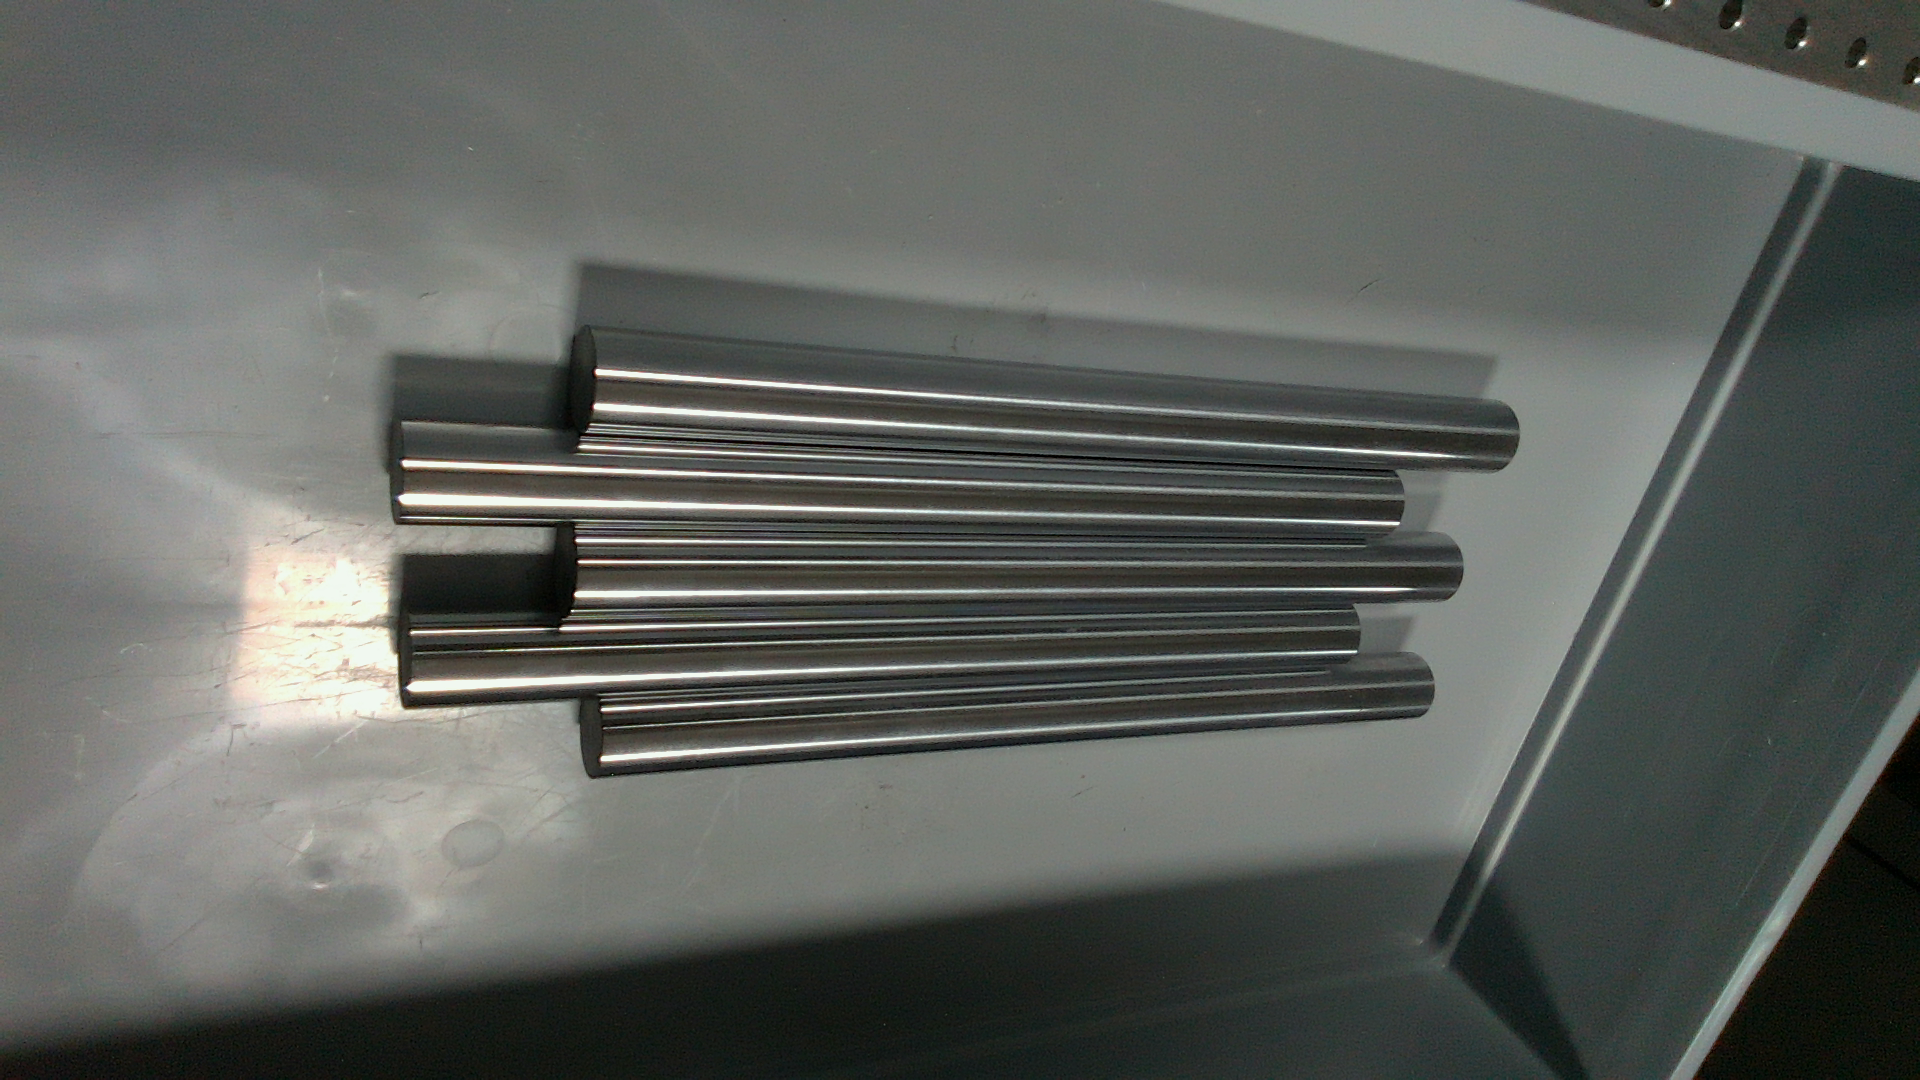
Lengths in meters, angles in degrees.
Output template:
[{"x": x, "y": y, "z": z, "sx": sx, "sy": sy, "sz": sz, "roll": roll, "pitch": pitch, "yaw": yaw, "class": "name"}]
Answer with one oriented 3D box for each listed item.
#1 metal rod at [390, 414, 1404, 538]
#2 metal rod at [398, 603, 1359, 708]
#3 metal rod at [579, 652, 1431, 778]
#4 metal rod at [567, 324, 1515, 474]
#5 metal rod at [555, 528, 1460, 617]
[{"x": 0.005, "y": -0.014, "z": 0.382, "sx": 0.301, "sy": 0.025, "sz": 0.025, "roll": 1, "pitch": 118, "yaw": -29, "class": "metal rod"}, {"x": -0.003, "y": 0.029, "z": 0.405, "sx": 0.301, "sy": 0.025, "sz": 0.025, "roll": 1, "pitch": 118, "yaw": -29, "class": "metal rod"}, {"x": 0.033, "y": 0.052, "z": 0.438, "sx": 0.301, "sy": 0.025, "sz": 0.025, "roll": 1, "pitch": 118, "yaw": -29, "class": "metal rod"}, {"x": 0.044, "y": -0.036, "z": 0.390, "sx": 0.301, "sy": 0.025, "sz": 0.025, "roll": 1, "pitch": 118, "yaw": -29, "class": "metal rod"}, {"x": 0.034, "y": 0.008, "z": 0.411, "sx": 0.301, "sy": 0.025, "sz": 0.025, "roll": 1, "pitch": 118, "yaw": -29, "class": "metal rod"}]
